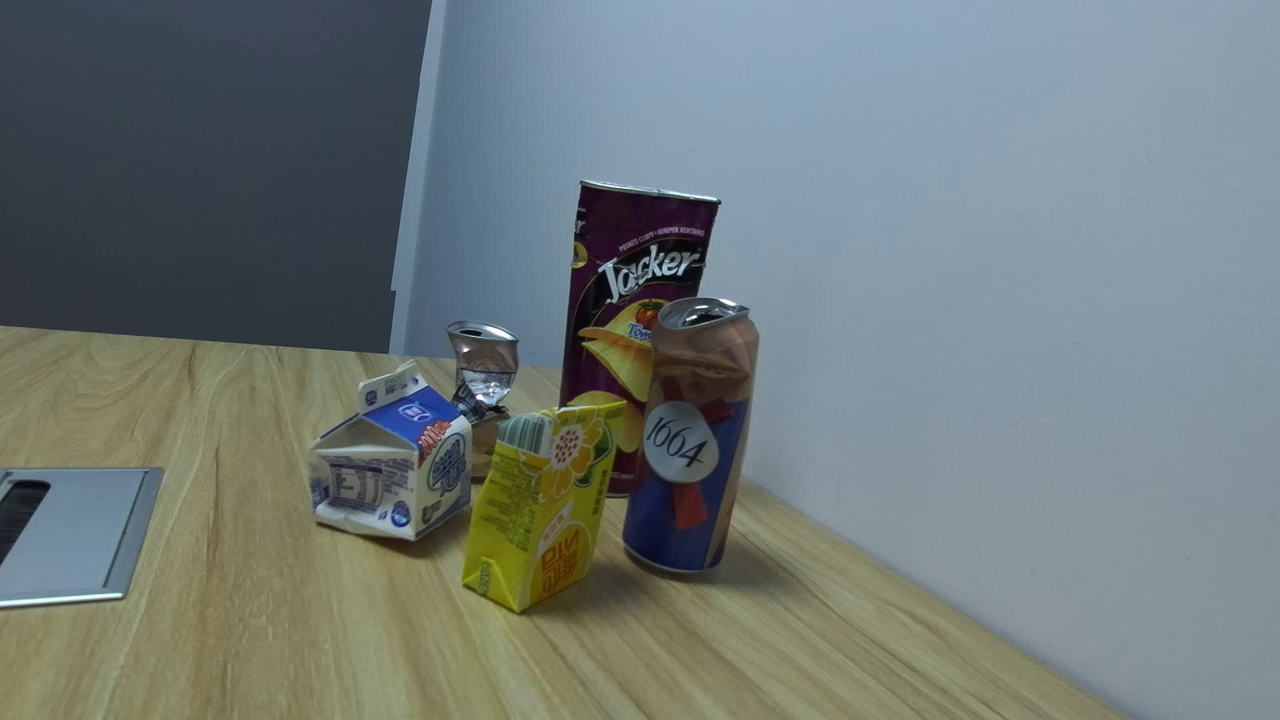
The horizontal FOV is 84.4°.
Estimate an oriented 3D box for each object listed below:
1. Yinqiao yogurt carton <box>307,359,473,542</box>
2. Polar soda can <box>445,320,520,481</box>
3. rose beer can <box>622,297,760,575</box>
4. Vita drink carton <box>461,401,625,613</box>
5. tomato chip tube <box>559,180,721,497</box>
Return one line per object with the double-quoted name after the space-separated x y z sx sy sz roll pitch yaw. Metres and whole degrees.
-0.152 0.052 0.426 0.080 0.097 0.074 4 8 10 "Yinqiao yogurt carton"
-0.120 0.032 0.530 0.074 0.114 0.070 7 9 20 "Polar soda can"
0.032 0.047 0.437 0.069 0.168 0.070 9 13 10 "rose beer can"
-0.052 0.070 0.384 0.046 0.109 0.071 18 11 29 "Vita drink carton"
-0.015 -0.017 0.553 0.078 0.235 0.089 2 16 -28 "tomato chip tube"
